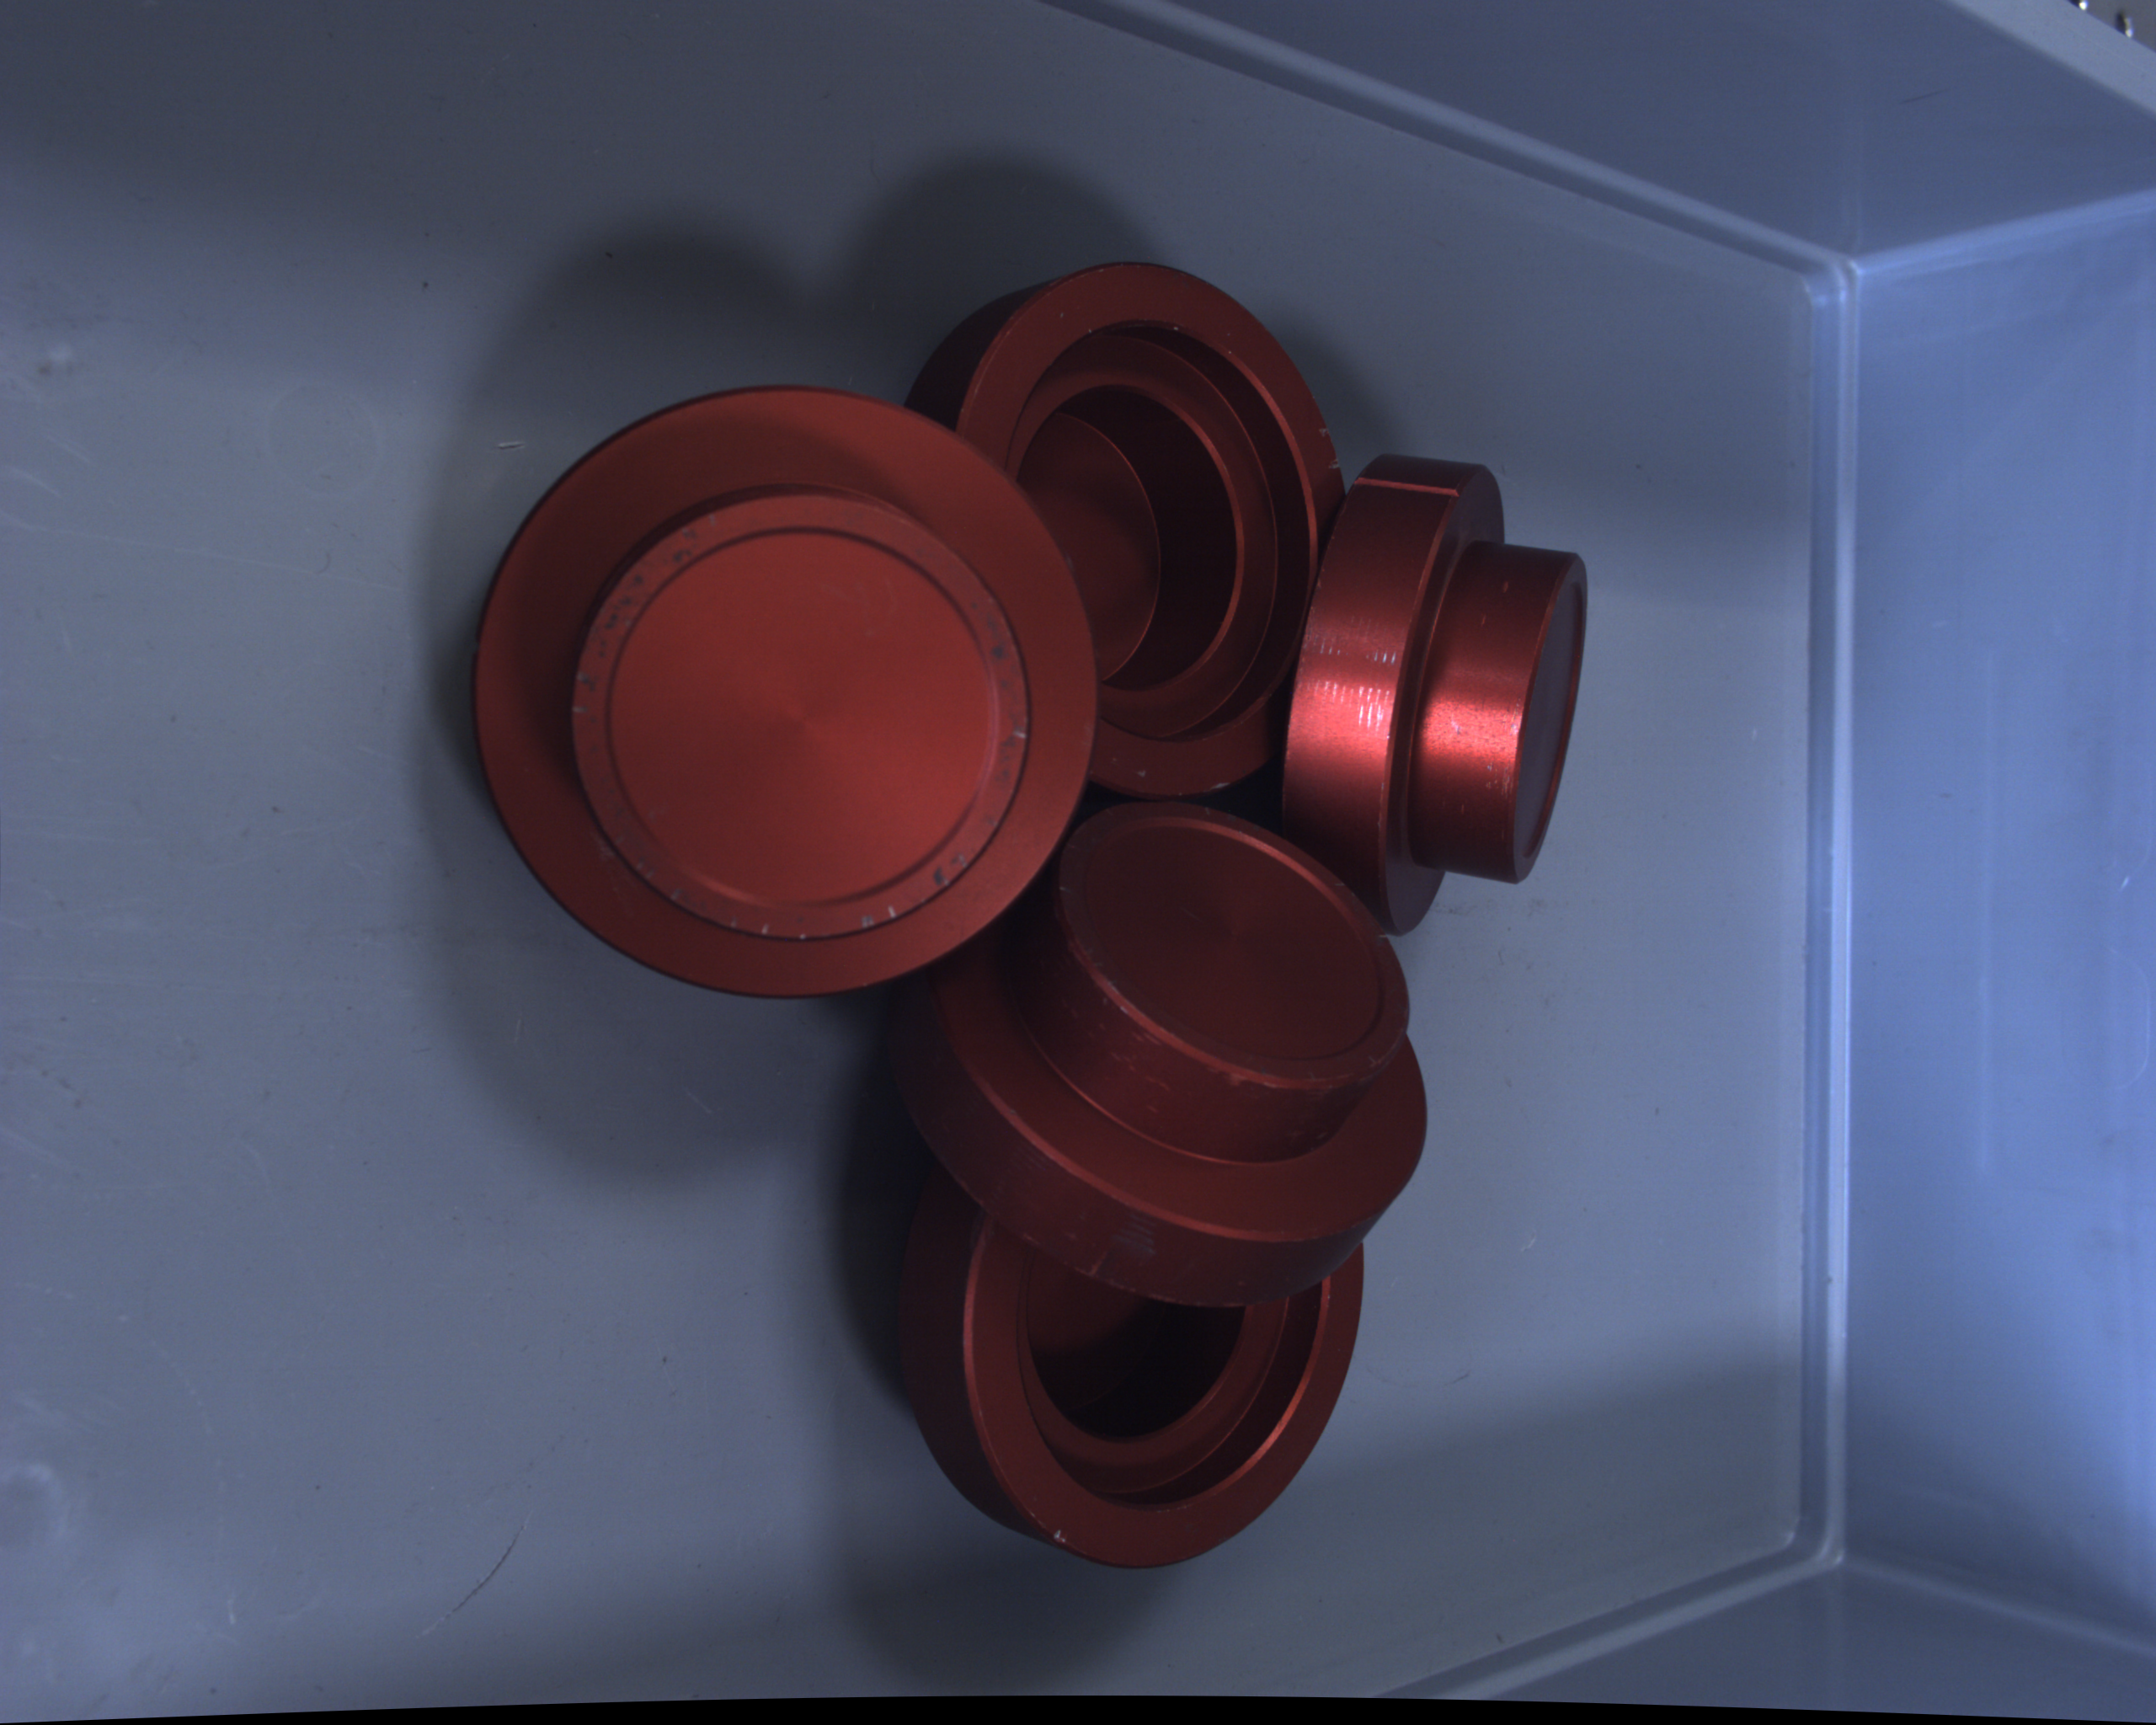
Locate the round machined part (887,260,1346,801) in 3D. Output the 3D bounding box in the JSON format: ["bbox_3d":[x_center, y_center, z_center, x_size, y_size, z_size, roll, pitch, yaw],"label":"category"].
[{"bbox_3d":[0.004,-0.060,0.395,0.099,0.042,0.097,0,90,-40],"label":"round machined part"}]

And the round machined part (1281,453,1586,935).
[{"bbox_3d":[0.077,-0.033,0.428,0.098,0.042,0.097,10,91,-71],"label":"round machined part"}]

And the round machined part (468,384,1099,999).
[{"bbox_3d":[-0.045,-0.025,0.328,0.099,0.042,0.097,-3,102,-12],"label":"round machined part"}]

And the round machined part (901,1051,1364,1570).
[{"bbox_3d":[0.006,0.080,0.398,0.099,0.042,0.097,0,90,-40],"label":"round machined part"}]

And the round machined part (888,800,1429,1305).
[{"bbox_3d":[0.020,0.027,0.372,0.099,0.098,0.042,-9,140,-40],"label":"round machined part"}]
